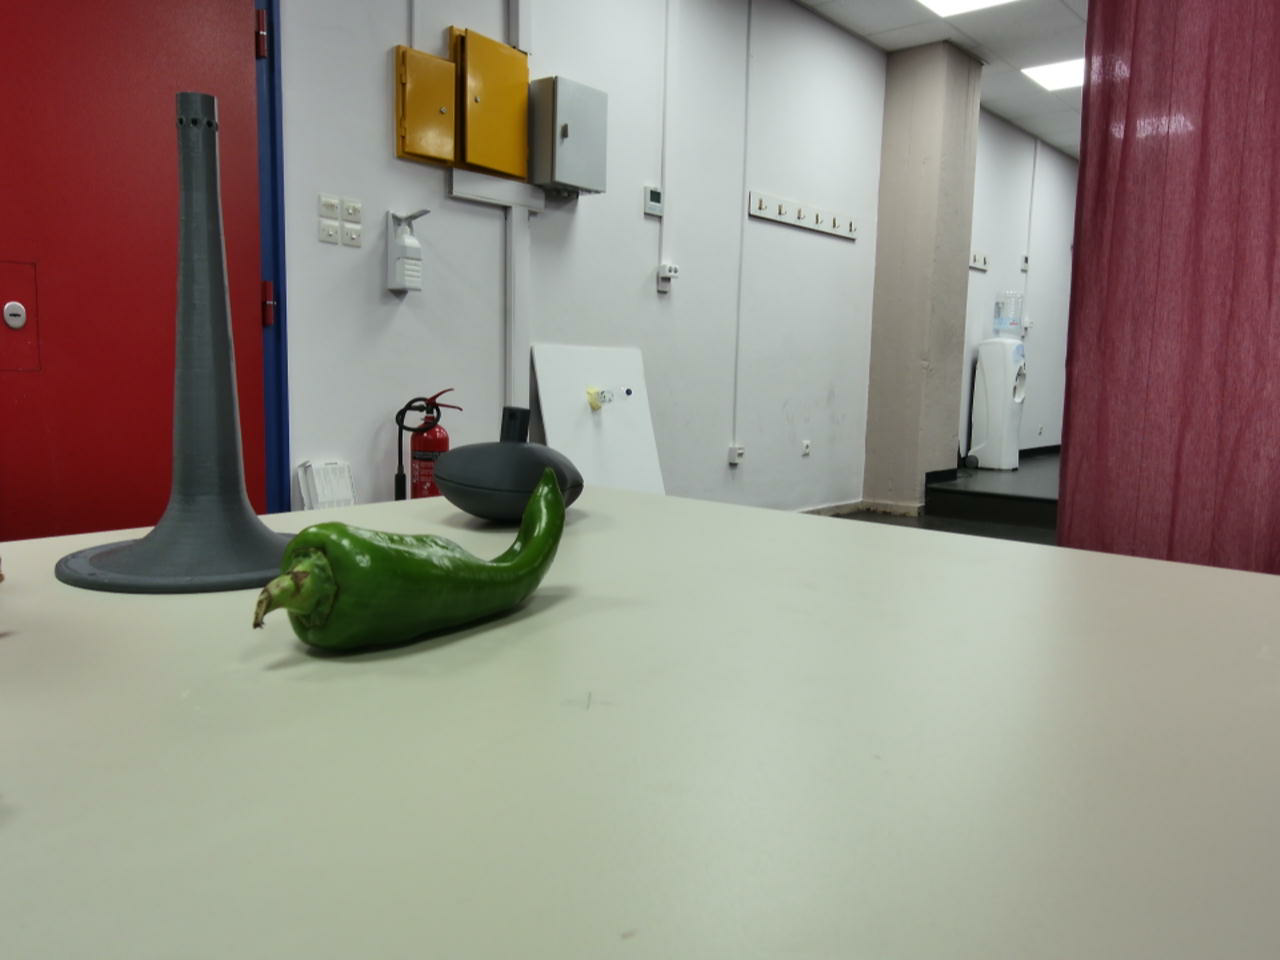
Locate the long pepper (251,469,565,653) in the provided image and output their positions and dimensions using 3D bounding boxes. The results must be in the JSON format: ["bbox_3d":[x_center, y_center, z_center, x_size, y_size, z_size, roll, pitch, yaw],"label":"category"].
[{"bbox_3d":[-0.089,0.033,0.438,0.058,0.065,0.175,3,5,38],"label":"long pepper"}]
